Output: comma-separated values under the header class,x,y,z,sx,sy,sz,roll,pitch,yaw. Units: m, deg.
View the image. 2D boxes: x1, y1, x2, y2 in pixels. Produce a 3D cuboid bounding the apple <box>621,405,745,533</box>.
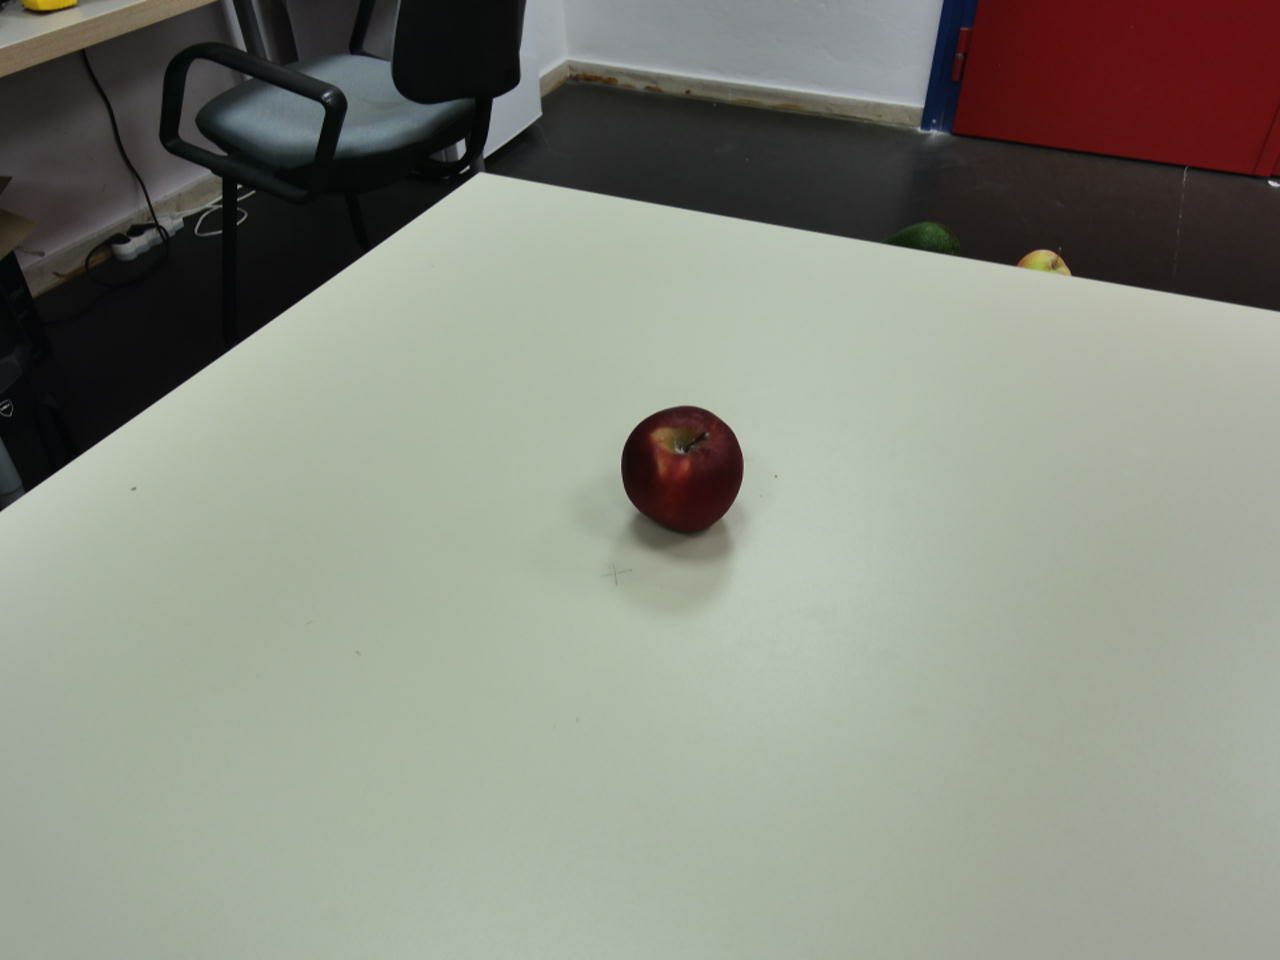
class,x,y,z,sx,sy,sz,roll,pitch,yaw
apple,0.024,-0.005,0.562,0.070,0.072,0.070,0,38,0
